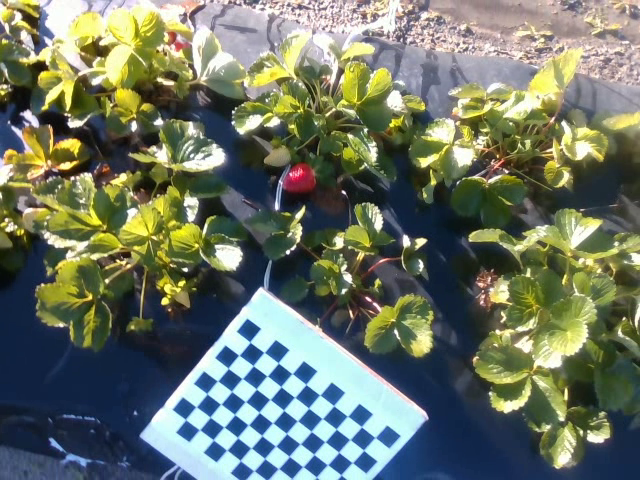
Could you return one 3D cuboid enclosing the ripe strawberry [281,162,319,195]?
[{"bbox_3d":[-0.033,-0.104,1.021,0.080,0.063,0.040,-30,10,-35],"label":"ripe strawberry"}]
